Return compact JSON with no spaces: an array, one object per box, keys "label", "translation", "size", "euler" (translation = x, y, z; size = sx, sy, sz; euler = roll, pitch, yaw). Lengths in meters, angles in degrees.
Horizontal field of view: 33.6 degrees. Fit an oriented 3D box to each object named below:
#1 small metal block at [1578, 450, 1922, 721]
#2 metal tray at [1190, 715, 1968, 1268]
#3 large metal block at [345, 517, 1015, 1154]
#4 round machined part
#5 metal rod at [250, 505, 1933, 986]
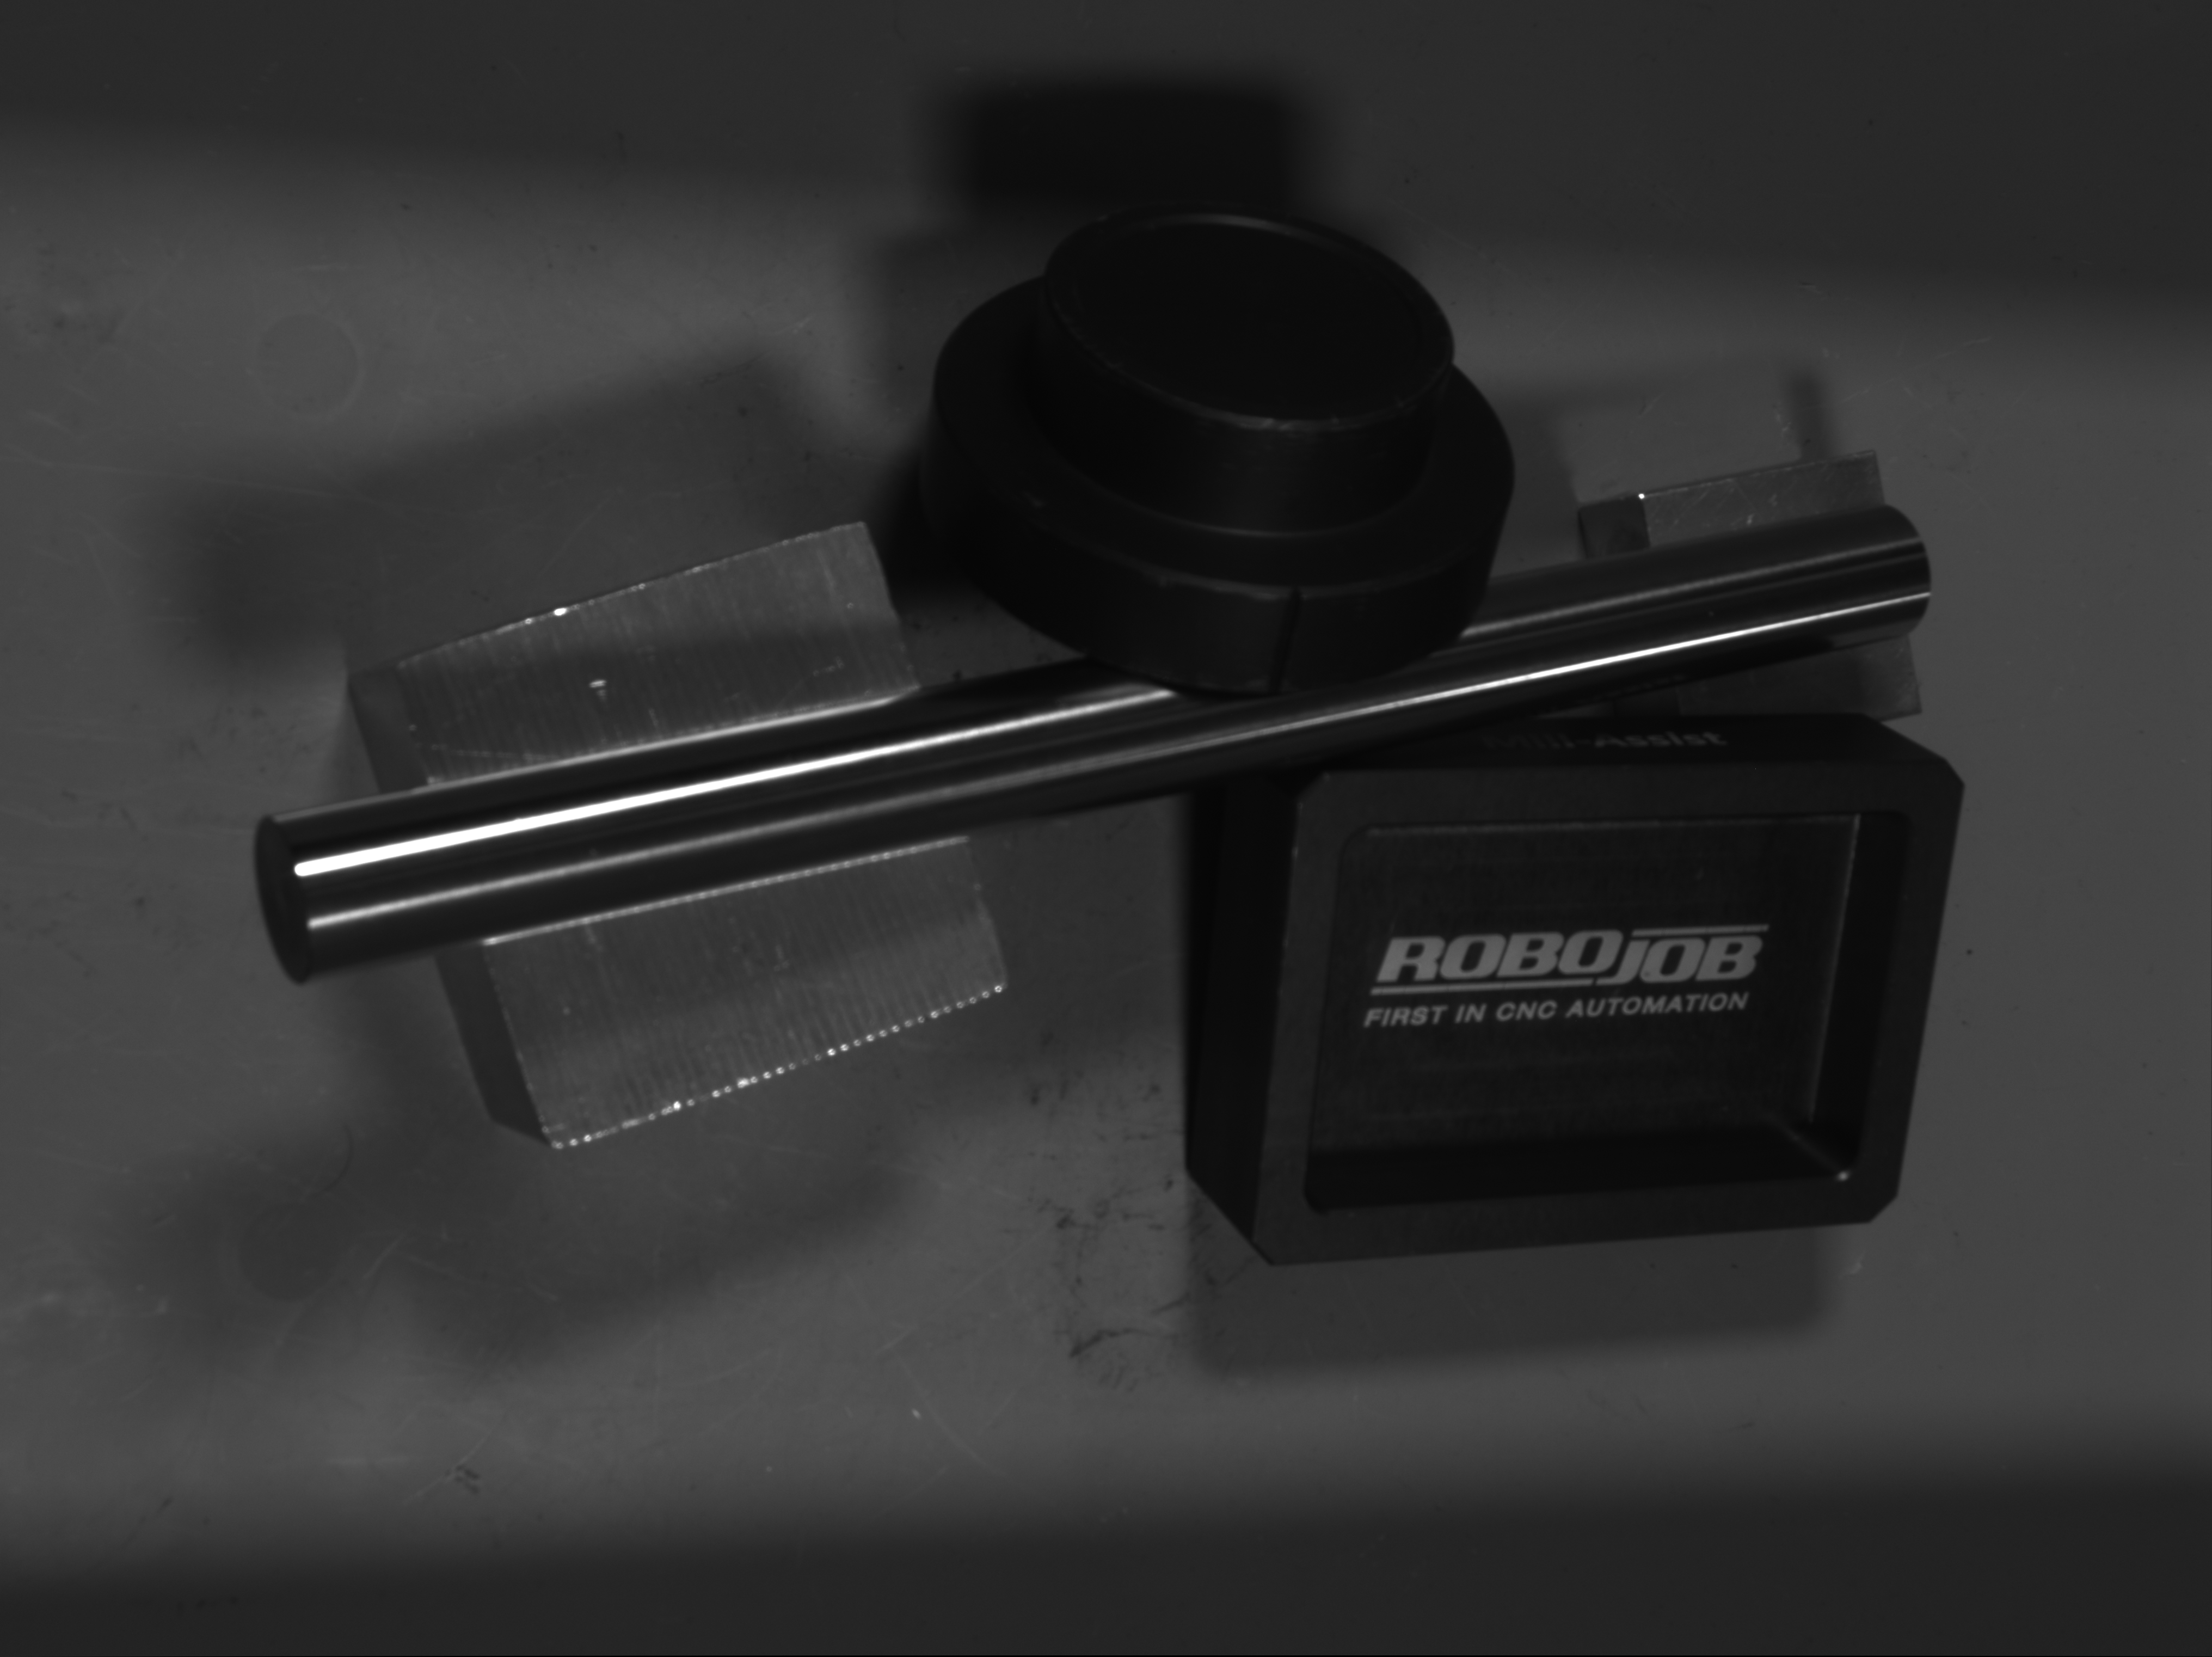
[{"label":"small metal block","translation":[0.120,-0.041,0.686],"size":[0.050,0.025,0.050],"euler":[-12,94,-20]},{"label":"metal tray","translation":[0.084,0.028,0.655],"size":[0.130,0.030,0.090],"euler":[-2,110,-20]},{"label":"large metal block","translation":[-0.071,0.000,0.602],"size":[0.080,0.050,0.080],"euler":[-19,96,-19]},{"label":"round machined part","translation":[0.020,-0.068,0.609],"size":[0.098,0.098,0.042],"euler":[-5,132,-20]},{"label":"metal rod","translation":[0.011,-0.018,0.599],"size":[0.301,0.025,0.025],"euler":[-12,94,-27]}]
